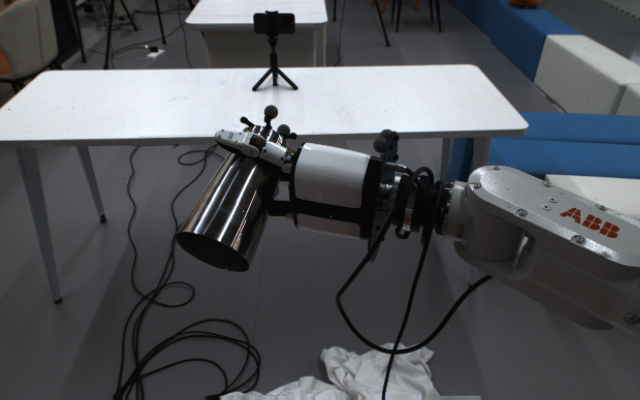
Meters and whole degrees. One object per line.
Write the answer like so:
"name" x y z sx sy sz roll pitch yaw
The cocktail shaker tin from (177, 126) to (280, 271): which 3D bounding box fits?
"cocktail shaker tin" -0.098 -0.010 0.599 0.093 0.093 0.170 13 59 16
